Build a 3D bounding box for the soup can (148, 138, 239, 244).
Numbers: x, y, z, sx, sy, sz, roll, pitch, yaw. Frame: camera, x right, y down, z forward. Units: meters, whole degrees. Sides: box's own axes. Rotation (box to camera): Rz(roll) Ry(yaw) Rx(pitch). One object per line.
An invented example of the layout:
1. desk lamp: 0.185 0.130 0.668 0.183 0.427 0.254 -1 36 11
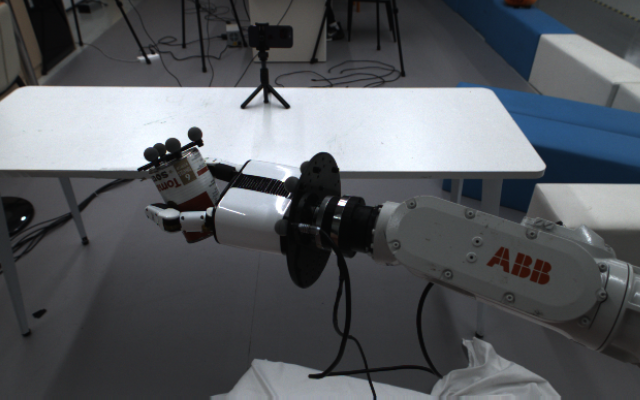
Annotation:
1. soup can: -0.158 -0.005 0.607 0.067 0.101 0.067 -23 15 7
